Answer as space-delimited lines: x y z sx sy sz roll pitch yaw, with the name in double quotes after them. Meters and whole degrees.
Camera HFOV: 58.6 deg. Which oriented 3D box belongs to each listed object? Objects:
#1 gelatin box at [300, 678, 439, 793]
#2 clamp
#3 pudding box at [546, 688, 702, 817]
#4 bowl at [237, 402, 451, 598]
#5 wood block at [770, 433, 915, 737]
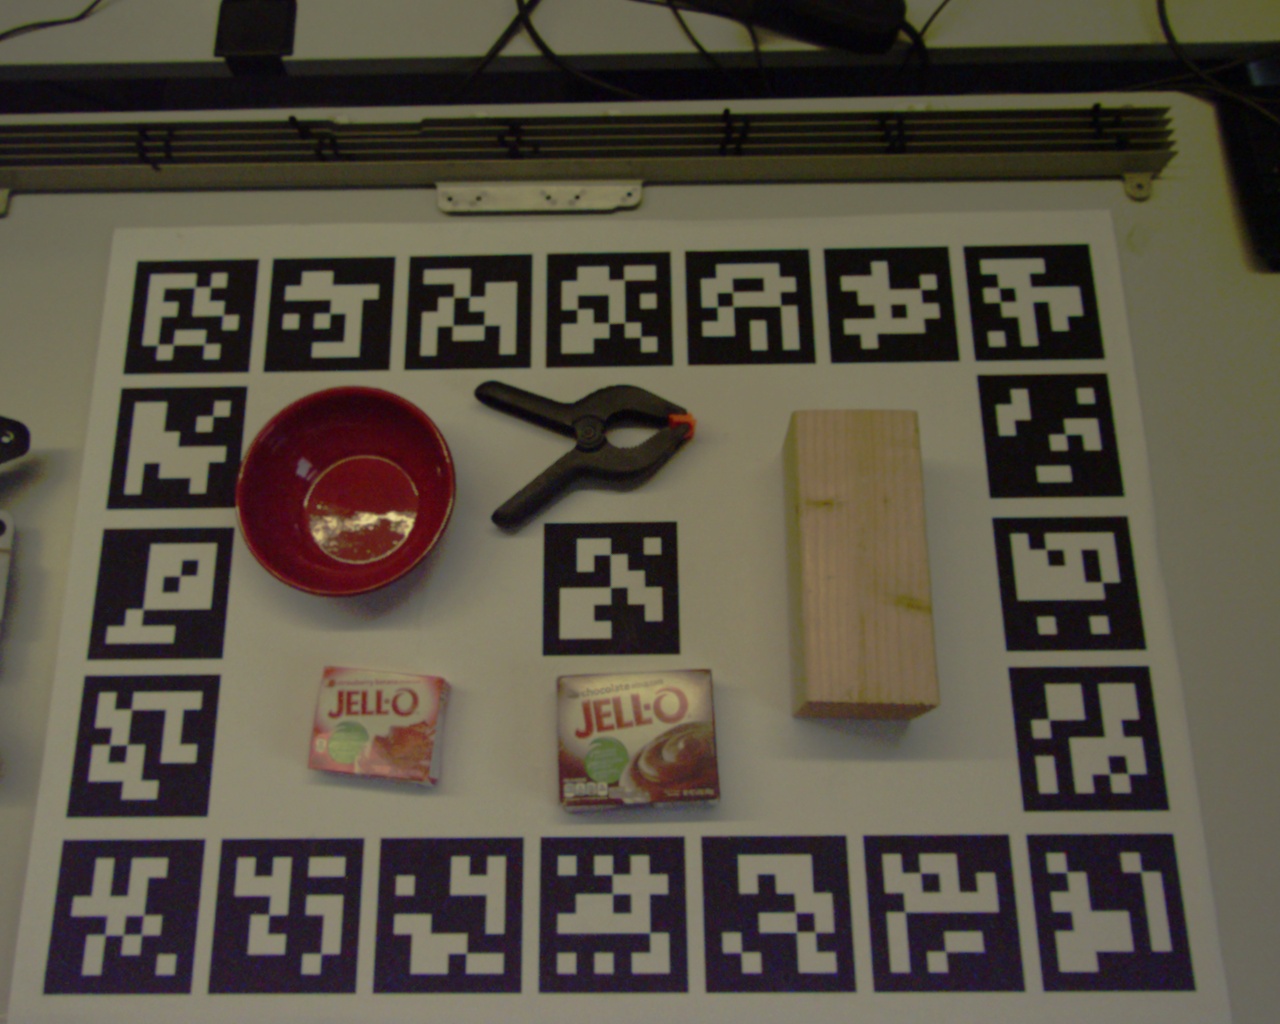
-0.199 0.165 0.842 0.089 0.030 0.073 7 76 3 "gelatin box"
-0.063 -0.040 0.904 0.165 0.036 0.122 -10 74 -4 "clamp"
-0.012 0.175 0.832 0.114 0.038 0.090 -1 78 3 "pudding box"
-0.224 -0.001 0.885 0.161 0.055 0.162 0 77 0 "bowl"
0.146 0.055 0.836 0.090 0.091 0.206 2 74 0 "wood block"
